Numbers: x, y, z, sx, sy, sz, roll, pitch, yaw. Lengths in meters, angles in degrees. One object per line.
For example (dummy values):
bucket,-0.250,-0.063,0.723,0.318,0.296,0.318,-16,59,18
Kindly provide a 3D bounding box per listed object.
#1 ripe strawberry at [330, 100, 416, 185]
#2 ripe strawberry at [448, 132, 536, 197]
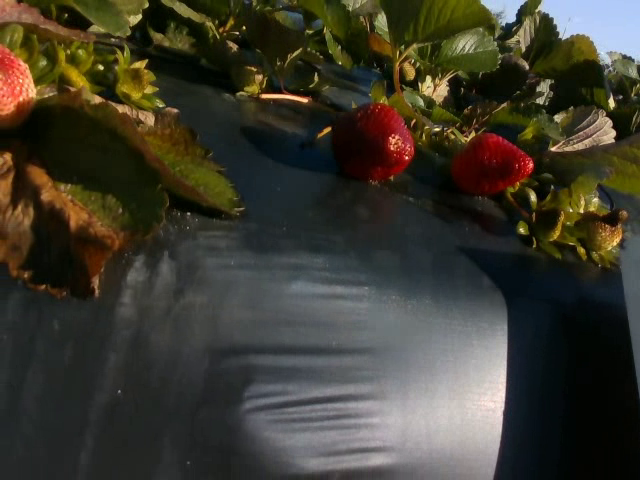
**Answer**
ripe strawberry,0.028,-0.049,0.296,0.050,0.045,0.050,27,-1,-12
ripe strawberry,0.096,-0.040,0.324,0.042,0.039,0.049,-37,26,-24
